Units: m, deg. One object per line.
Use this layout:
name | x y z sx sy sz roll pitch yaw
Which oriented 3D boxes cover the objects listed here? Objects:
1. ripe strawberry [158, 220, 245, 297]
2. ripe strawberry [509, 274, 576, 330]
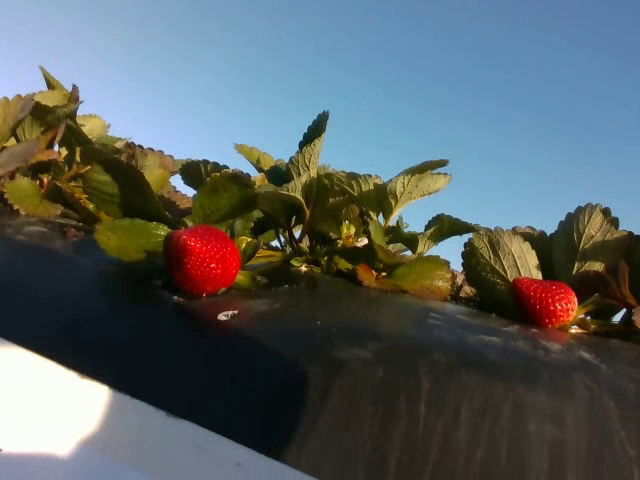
ripe strawberry | -0.061 0.007 0.302 0.045 0.042 0.055 25 -11 23
ripe strawberry | 0.123 0.032 0.338 0.046 0.036 0.034 27 19 14
